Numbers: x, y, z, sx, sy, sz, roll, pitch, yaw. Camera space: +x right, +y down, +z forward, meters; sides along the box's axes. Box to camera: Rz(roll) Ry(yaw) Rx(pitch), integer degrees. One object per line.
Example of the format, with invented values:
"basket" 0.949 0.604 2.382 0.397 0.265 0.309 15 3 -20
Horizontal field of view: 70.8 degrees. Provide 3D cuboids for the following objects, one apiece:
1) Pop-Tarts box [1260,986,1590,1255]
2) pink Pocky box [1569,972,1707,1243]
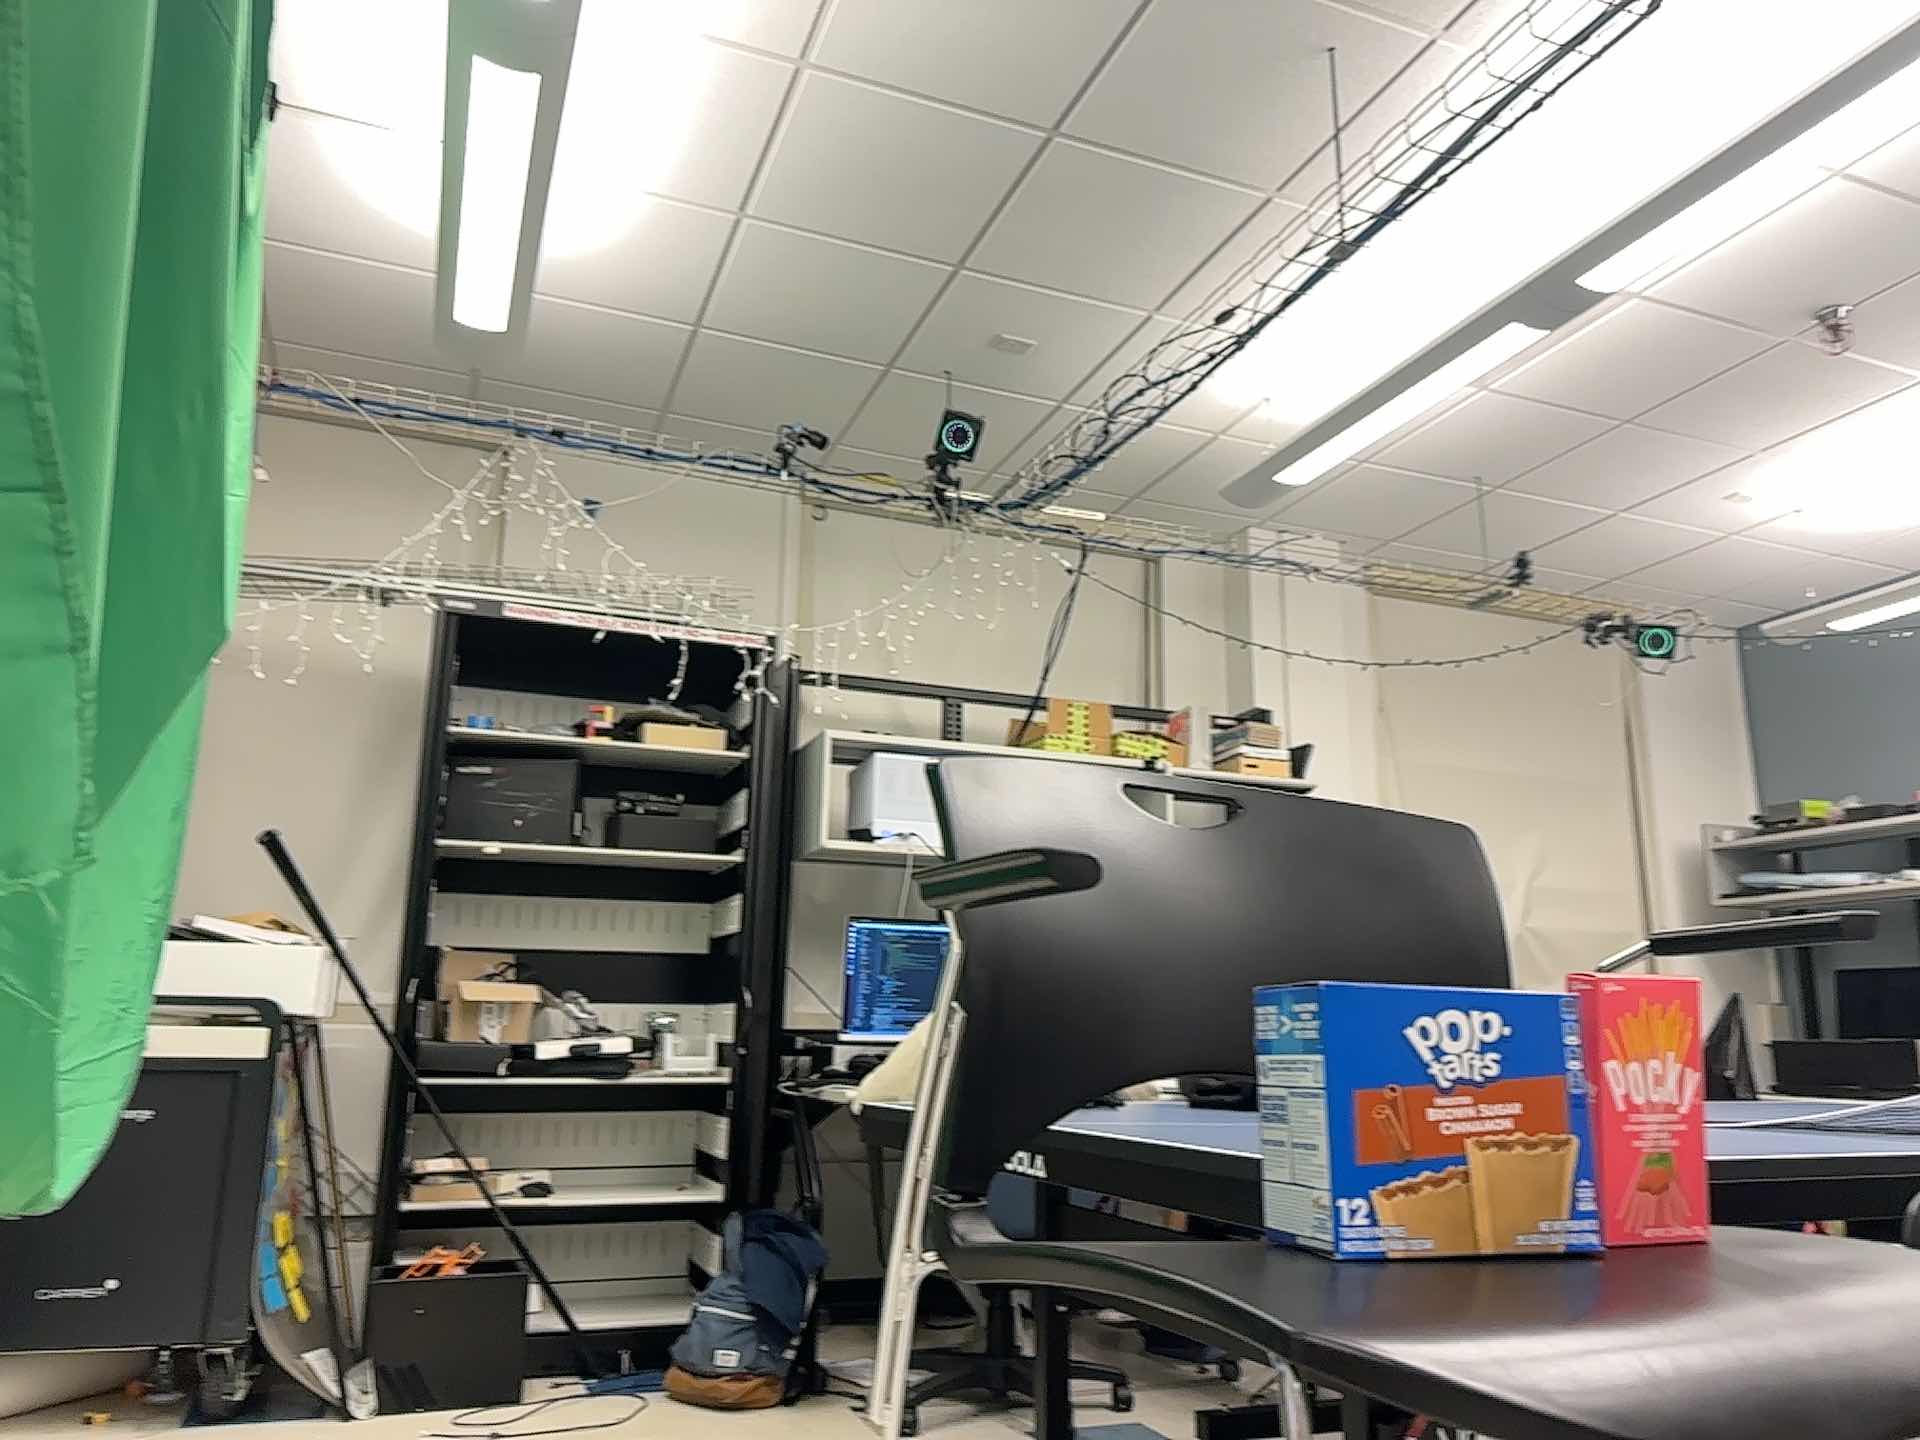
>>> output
"Pop-Tarts box" 0.268 0.229 0.786 0.161 0.135 0.075 6 -14 -21
"pink Pocky box" 0.409 0.231 0.816 0.084 0.155 0.029 6 -9 -25
